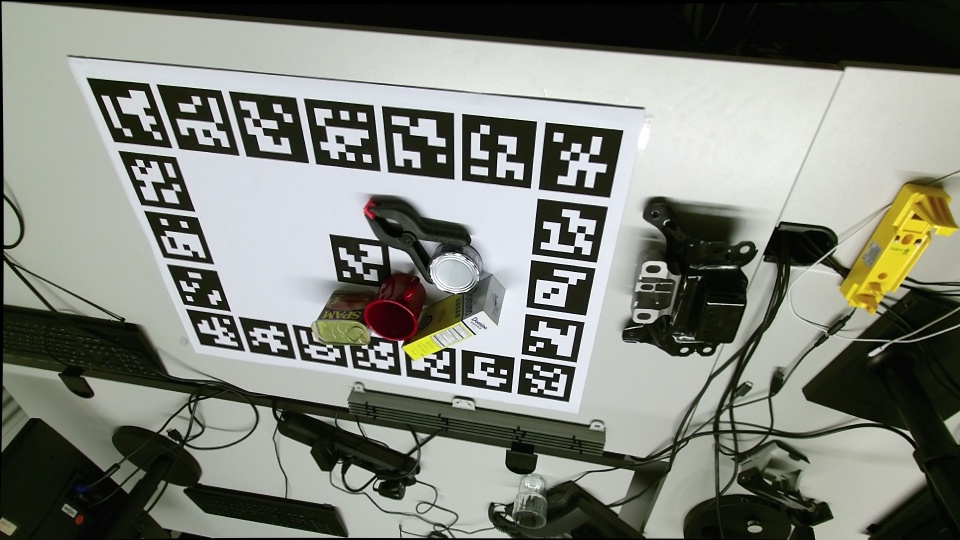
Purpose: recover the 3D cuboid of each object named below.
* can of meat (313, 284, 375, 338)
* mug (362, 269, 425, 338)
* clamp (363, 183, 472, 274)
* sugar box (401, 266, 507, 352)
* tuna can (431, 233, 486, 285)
[{"bbox_3d":[-0.233,0.069,0.934,0.102,0.083,0.058,1,126,13],"label":"can of meat"},{"bbox_3d":[-0.134,0.043,0.886,0.093,0.081,0.117,28,124,-7],"label":"mug"},{"bbox_3d":[-0.108,-0.076,0.835,0.165,0.036,0.122,38,128,-10],"label":"clamp"},{"bbox_3d":[-0.043,0.065,0.885,0.177,0.092,0.045,-27,117,29],"label":"sugar box"},{"bbox_3d":[-0.034,-0.019,0.853,0.086,0.033,0.086,5,124,8],"label":"tuna can"}]
